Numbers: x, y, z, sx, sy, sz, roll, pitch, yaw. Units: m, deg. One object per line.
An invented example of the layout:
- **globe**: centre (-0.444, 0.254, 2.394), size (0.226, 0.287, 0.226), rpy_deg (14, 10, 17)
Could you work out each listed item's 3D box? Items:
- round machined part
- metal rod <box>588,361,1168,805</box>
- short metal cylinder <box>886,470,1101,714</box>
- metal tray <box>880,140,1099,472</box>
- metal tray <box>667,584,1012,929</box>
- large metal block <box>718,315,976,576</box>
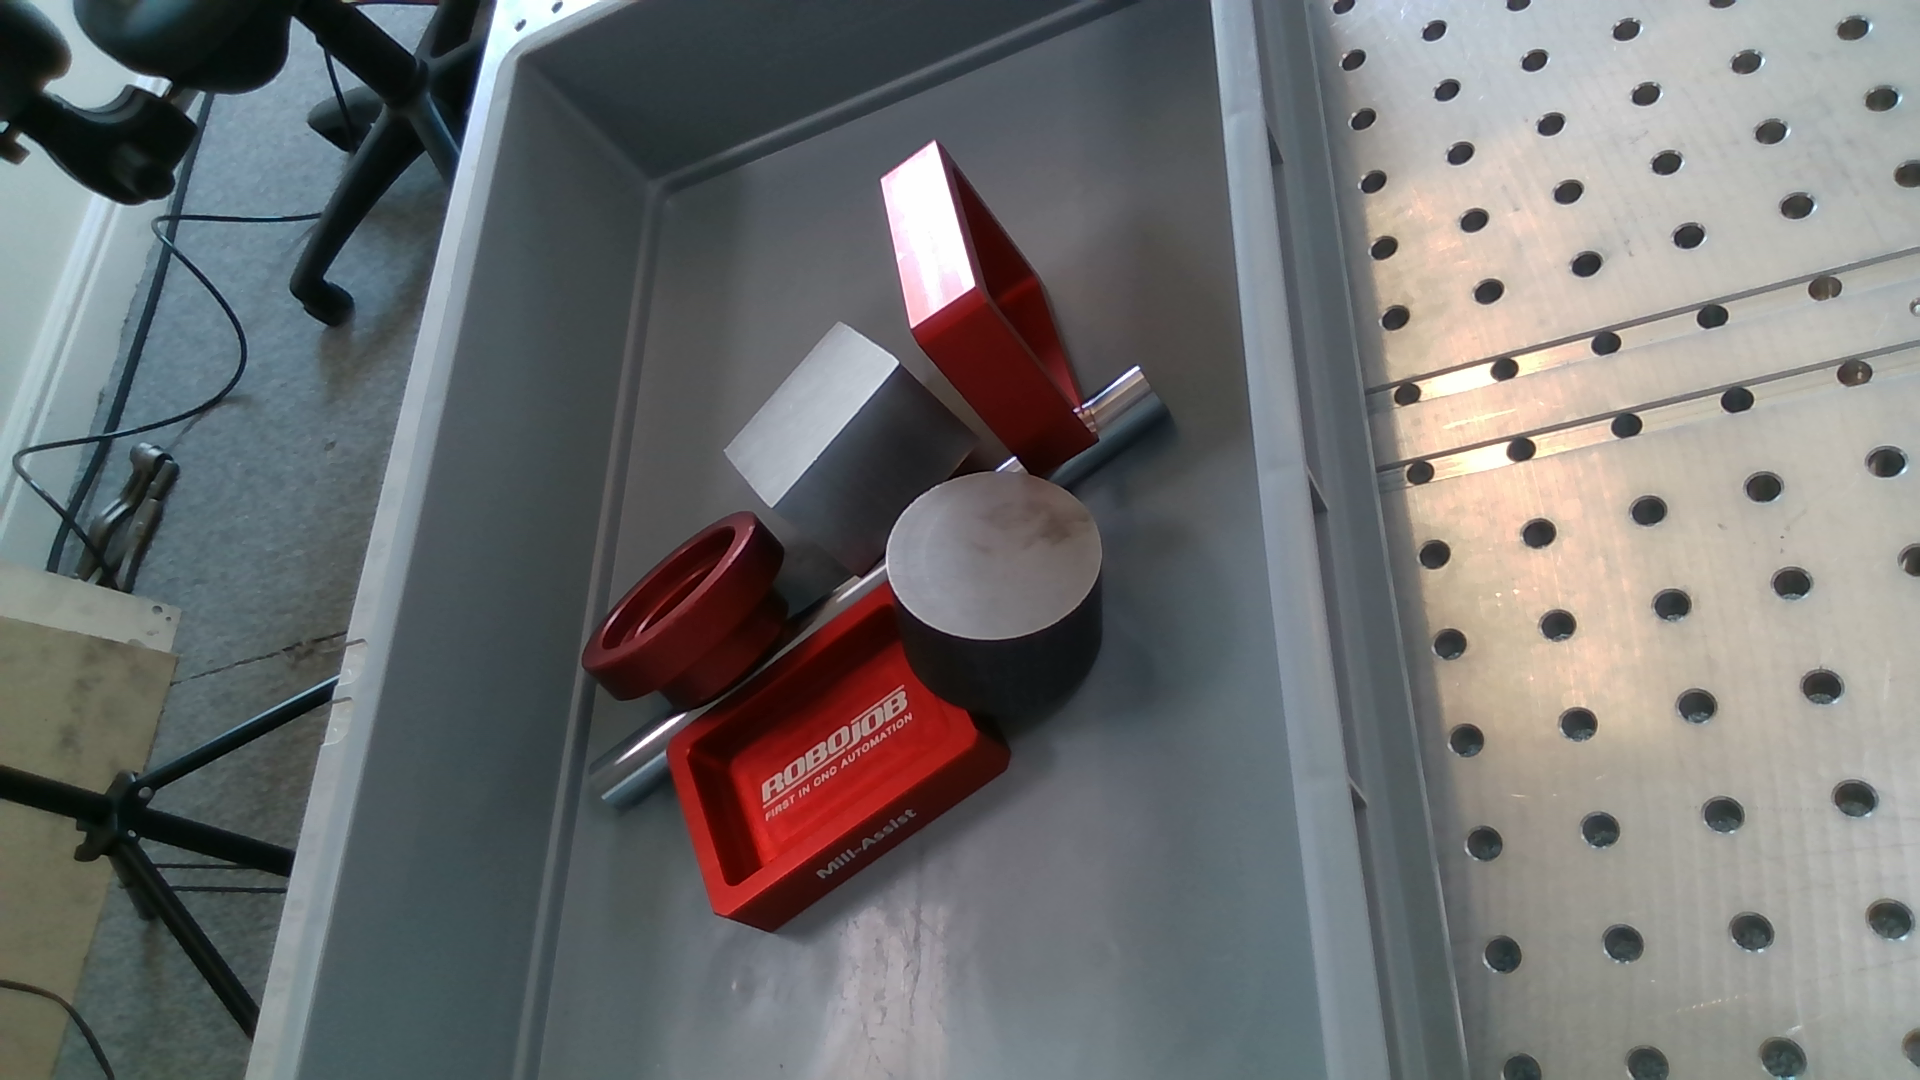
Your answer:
- **round machined part**: centre (-0.115, 0.035, 0.607), size (0.098, 0.042, 0.098), rpy_deg (-34, 20, 15)
- **metal rod**: centre (-0.040, 0.023, 0.596), size (0.300, 0.025, 0.025), rpy_deg (-36, 52, 11)
- **short metal cylinder**: centre (0.014, 0.020, 0.530), size (0.080, 0.050, 0.080), rpy_deg (-3, 51, 3)
- **metal tray**: centre (0.010, -0.098, 0.569), size (0.030, 0.090, 0.130), rpy_deg (-31, 39, 16)
- **metal tray**: centre (-0.053, 0.087, 0.568), size (0.130, 0.030, 0.090), rpy_deg (-36, 52, 11)
- **large metal block**: centre (-0.052, -0.043, 0.599), size (0.080, 0.050, 0.080), rpy_deg (-49, 33, 0)
